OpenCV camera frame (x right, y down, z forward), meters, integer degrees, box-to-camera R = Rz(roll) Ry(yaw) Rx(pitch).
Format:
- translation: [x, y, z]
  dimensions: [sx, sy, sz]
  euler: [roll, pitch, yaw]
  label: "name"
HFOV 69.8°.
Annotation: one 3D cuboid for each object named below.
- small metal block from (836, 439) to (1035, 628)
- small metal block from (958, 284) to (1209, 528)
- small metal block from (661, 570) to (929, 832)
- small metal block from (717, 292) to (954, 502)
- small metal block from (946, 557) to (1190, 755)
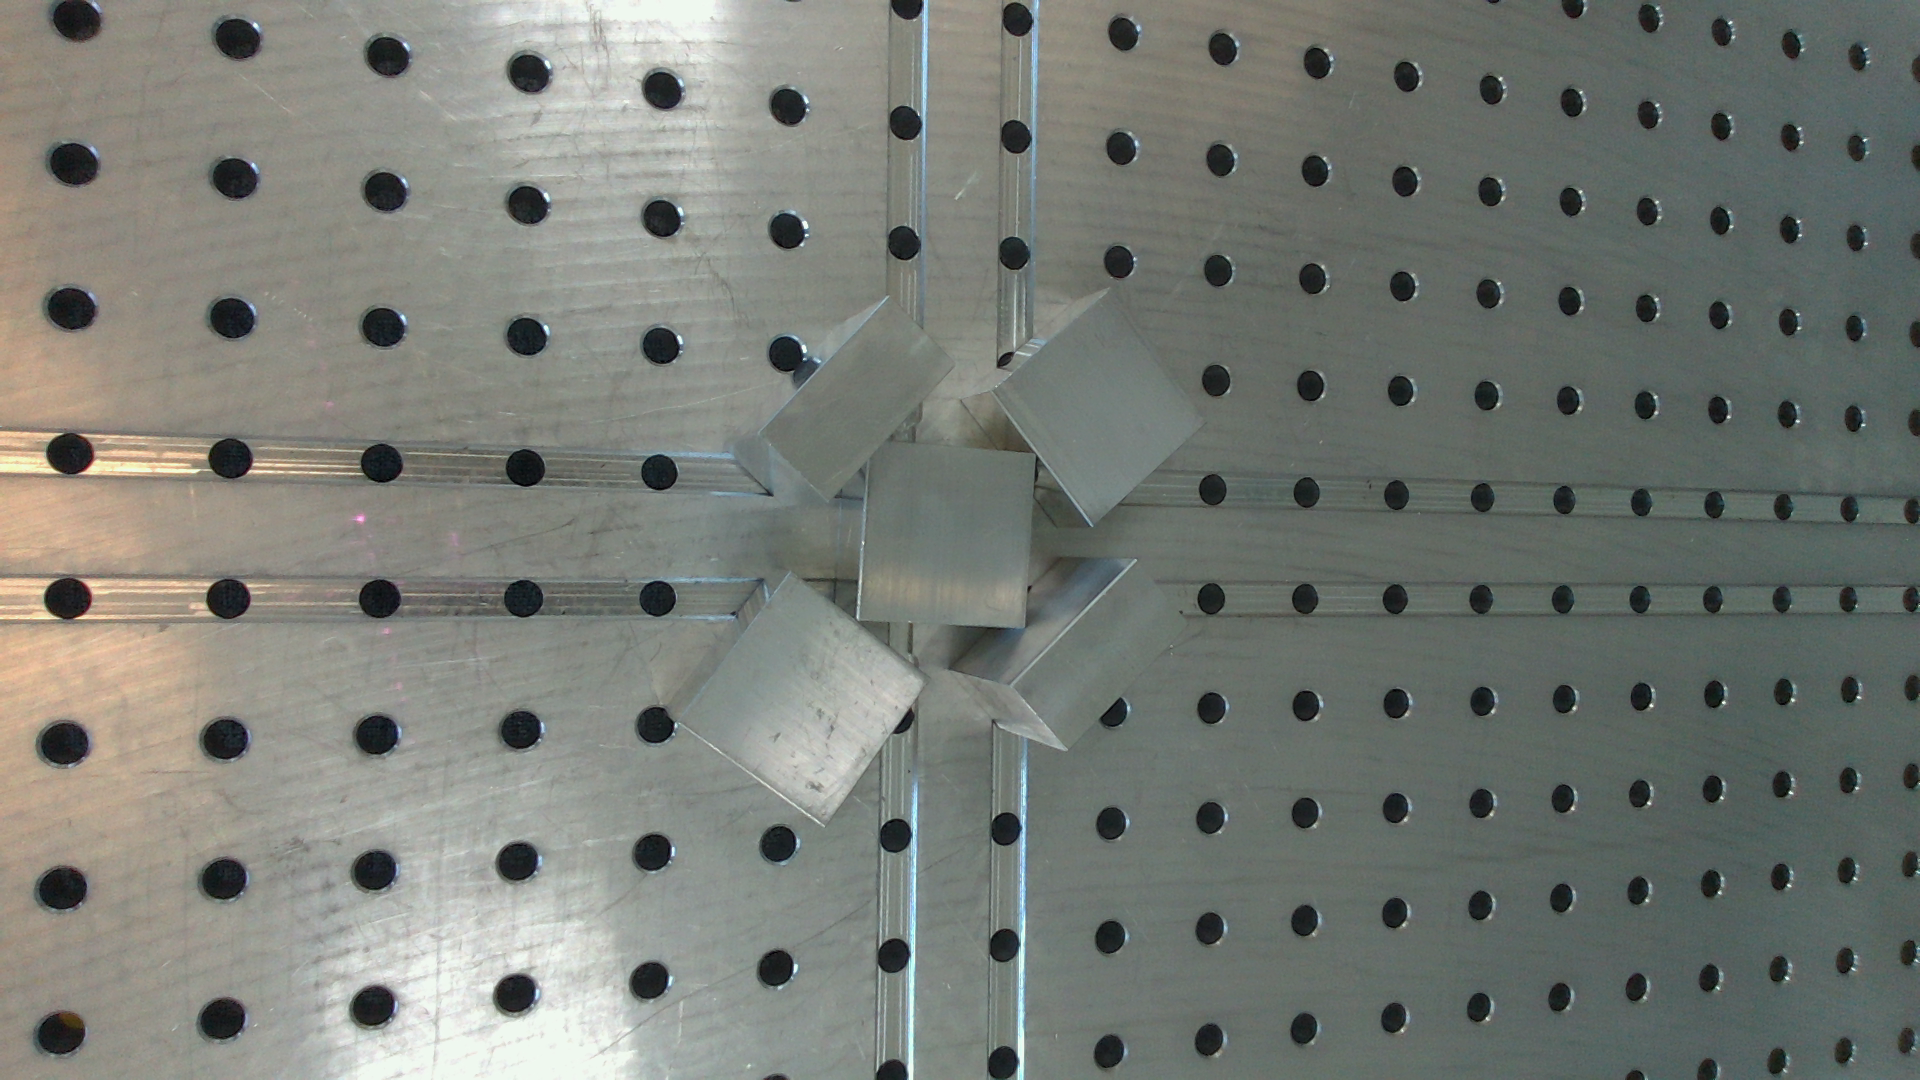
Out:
- translation: [-0.008, -0.001, 0.392]
  dimensions: [0.050, 0.025, 0.050]
  euler: [4, 87, -19]
  label: "small metal block"
- translation: [0.037, -0.039, 0.409]
  dimensions: [0.050, 0.025, 0.050]
  euler: [-42, 103, -15]
  label: "small metal block"
- translation: [-0.046, 0.043, 0.379]
  dimensions: [0.050, 0.025, 0.050]
  euler: [40, 77, -16]
  label: "small metal block"
- translation: [-0.035, -0.037, 0.369]
  dimensions: [0.025, 0.050, 0.050]
  euler: [46, 77, -15]
  label: "small metal block"
- translation: [0.030, 0.031, 0.393]
  dimensions: [0.050, 0.050, 0.025]
  euler: [-44, 103, -15]
  label: "small metal block"
